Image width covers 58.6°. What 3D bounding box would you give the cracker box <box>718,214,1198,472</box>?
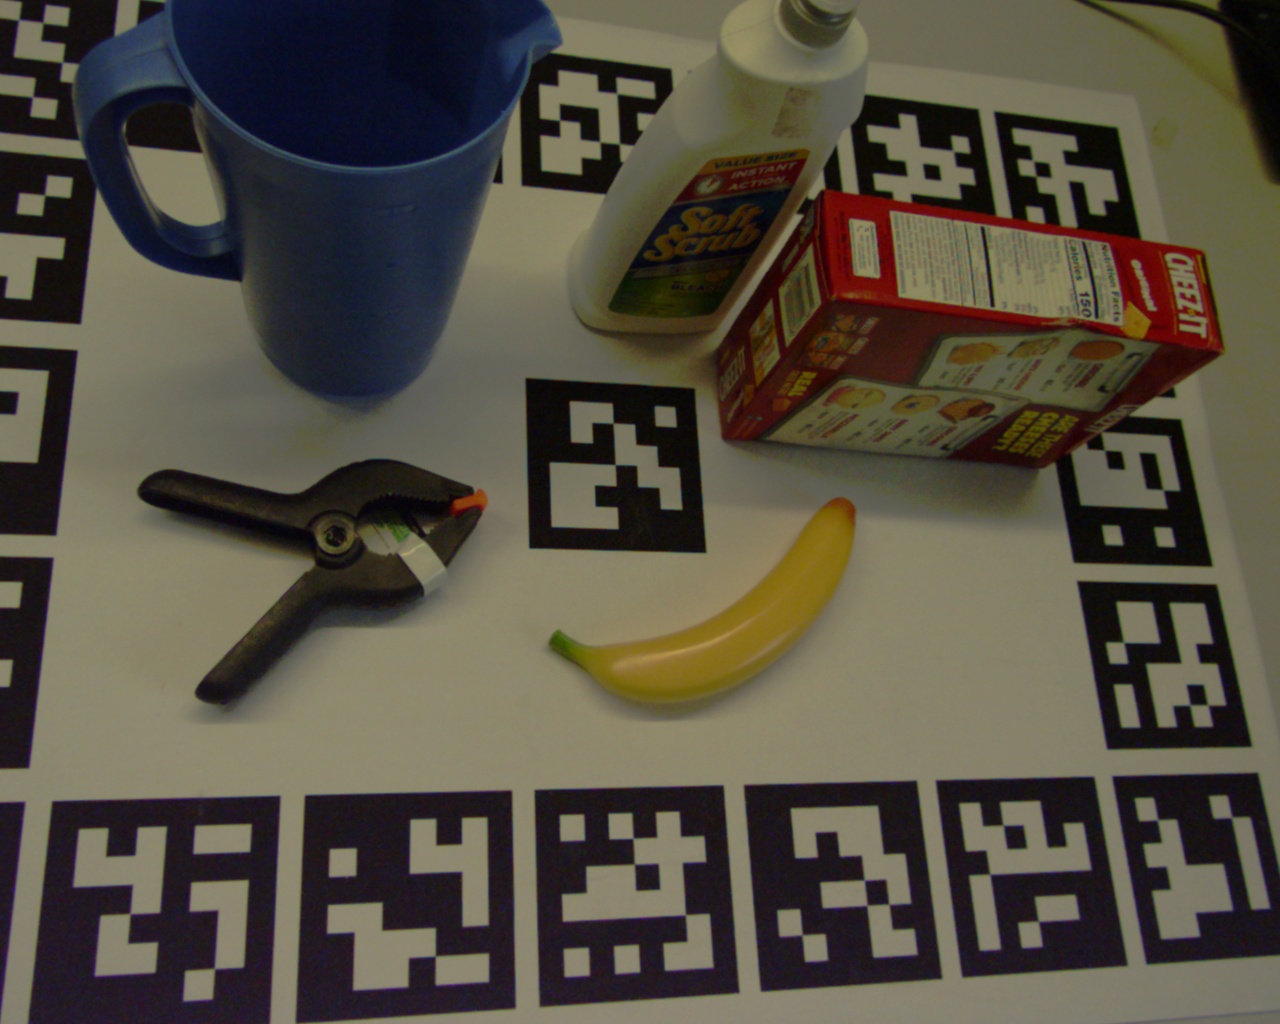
[{"bbox_3d":[0.170,-0.091,0.660,0.212,0.165,0.072,2,67,-12],"label":"cracker box"}]

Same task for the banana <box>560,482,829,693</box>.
[{"bbox_3d":[0.050,0.049,0.670,0.196,0.039,0.074,-34,81,-23],"label":"banana"}]

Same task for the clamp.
[{"bbox_3d":[-0.162,0.020,0.619,0.164,0.037,0.122,-15,73,-21],"label":"clamp"}]

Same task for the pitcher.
[{"bbox_3d":[-0.150,-0.146,0.547,0.187,0.244,0.134,-17,75,-23],"label":"pitcher"}]

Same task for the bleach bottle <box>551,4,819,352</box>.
[{"bbox_3d":[0.023,-0.174,0.623,0.102,0.252,0.068,1,70,-15],"label":"bleach bottle"}]
